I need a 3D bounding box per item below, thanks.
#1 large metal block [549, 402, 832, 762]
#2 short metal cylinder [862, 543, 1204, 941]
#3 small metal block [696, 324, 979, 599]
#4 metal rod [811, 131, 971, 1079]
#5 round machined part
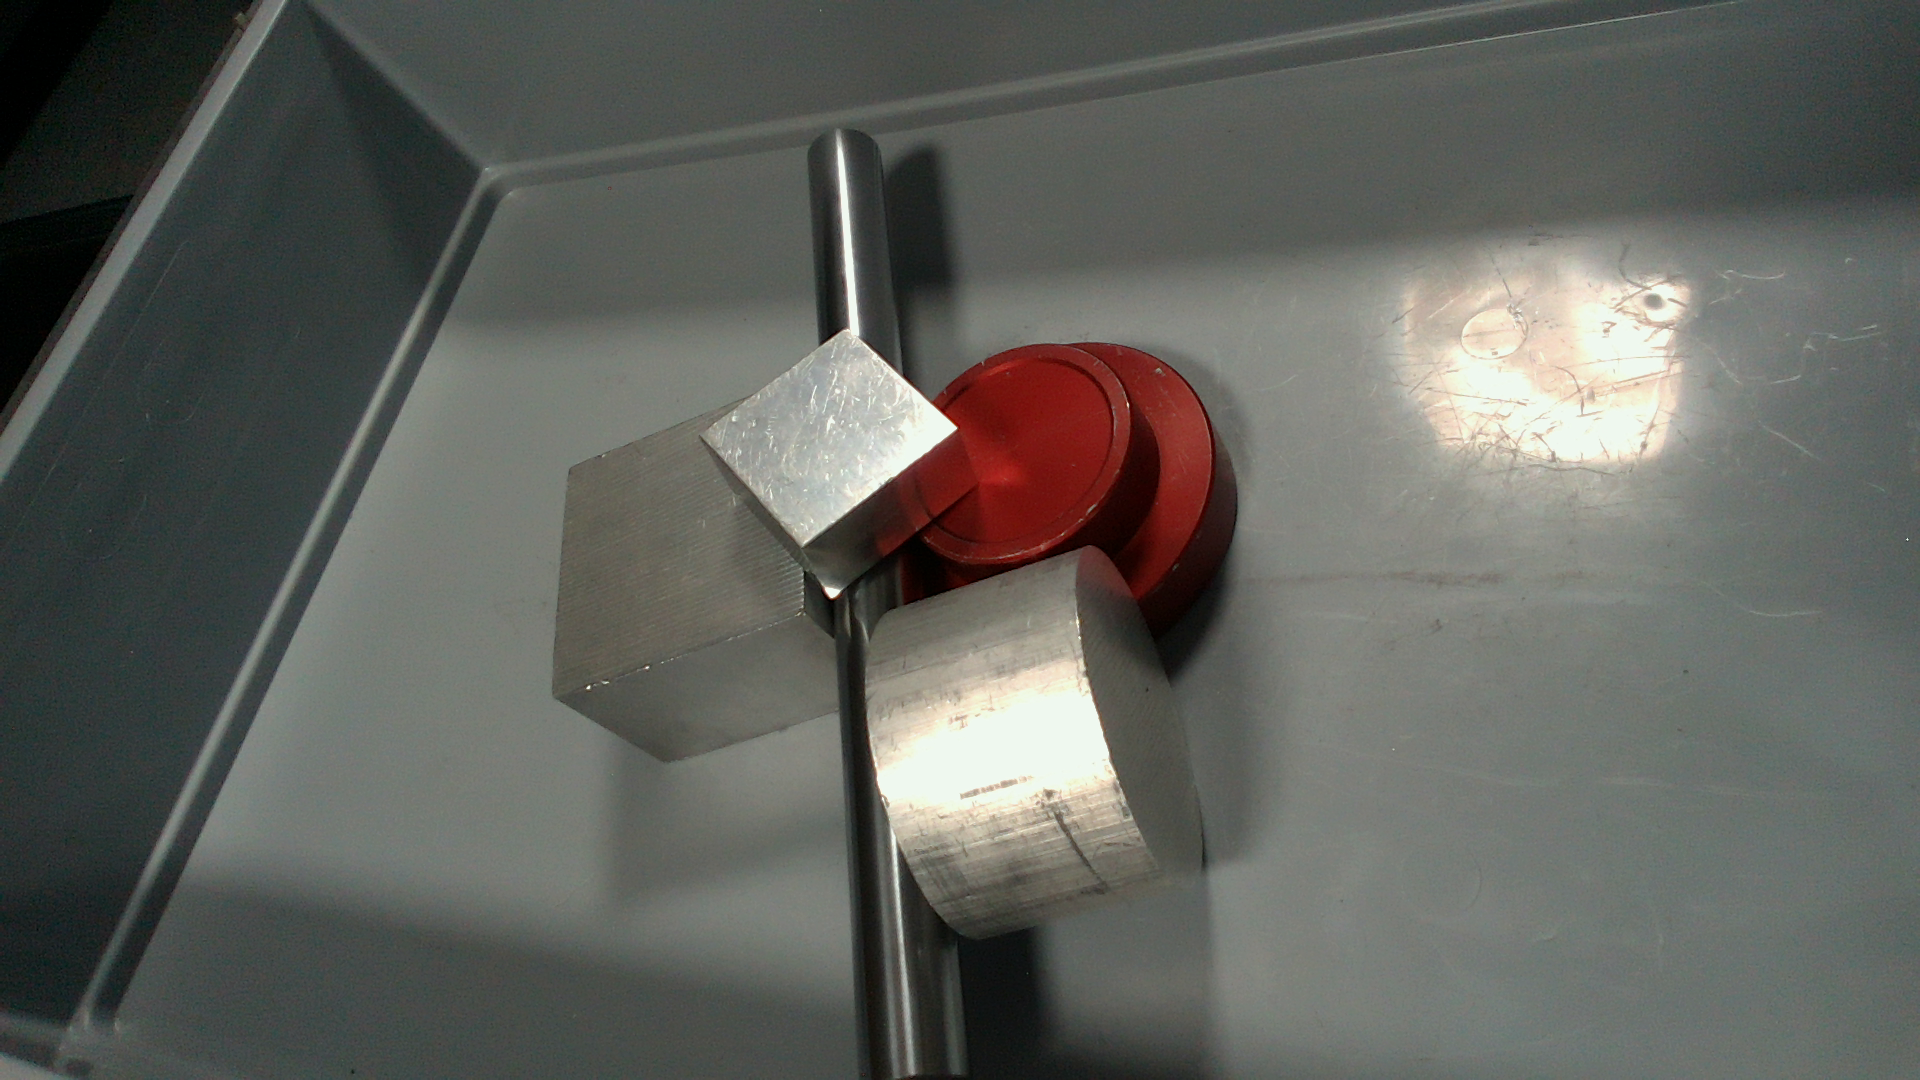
[{"bbox_3d":[-0.069,0.010,0.405,0.080,0.050,0.080,-19,54,17],"label":"large metal block"},{"bbox_3d":[0.019,0.046,0.318,0.050,0.080,0.080,-19,54,17],"label":"short metal cylinder"},{"bbox_3d":[-0.032,-0.021,0.360,0.050,0.025,0.050,-38,57,-12],"label":"small metal block"},{"bbox_3d":[-0.024,-0.005,0.382,0.025,0.025,0.300,-19,54,18],"label":"metal rod"},{"bbox_3d":[0.023,-0.015,0.378,0.098,0.042,0.098,-13,56,21],"label":"round machined part"}]
